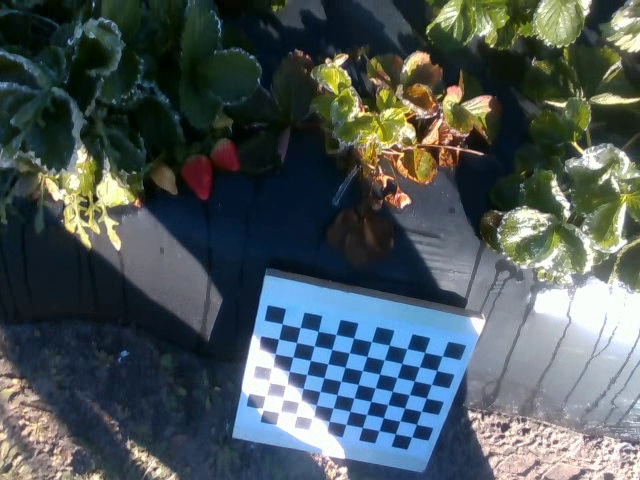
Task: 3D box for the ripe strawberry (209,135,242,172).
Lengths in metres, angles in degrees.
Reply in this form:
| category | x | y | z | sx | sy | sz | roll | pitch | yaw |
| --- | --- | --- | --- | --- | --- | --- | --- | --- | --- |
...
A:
| category | x | y | z | sx | sy | sz | roll | pitch | yaw |
| --- | --- | --- | --- | --- | --- | --- | --- | --- | --- |
| ripe strawberry | -0.102 | -0.093 | 0.718 | 0.041 | 0.036 | 0.030 | 39 | 21 | -12 |

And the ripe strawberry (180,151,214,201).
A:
| category | x | y | z | sx | sy | sz | roll | pitch | yaw |
| --- | --- | --- | --- | --- | --- | --- | --- | --- | --- |
| ripe strawberry | -0.131 | -0.066 | 0.713 | 0.036 | 0.052 | 0.039 | -23 | -13 | 11 |
